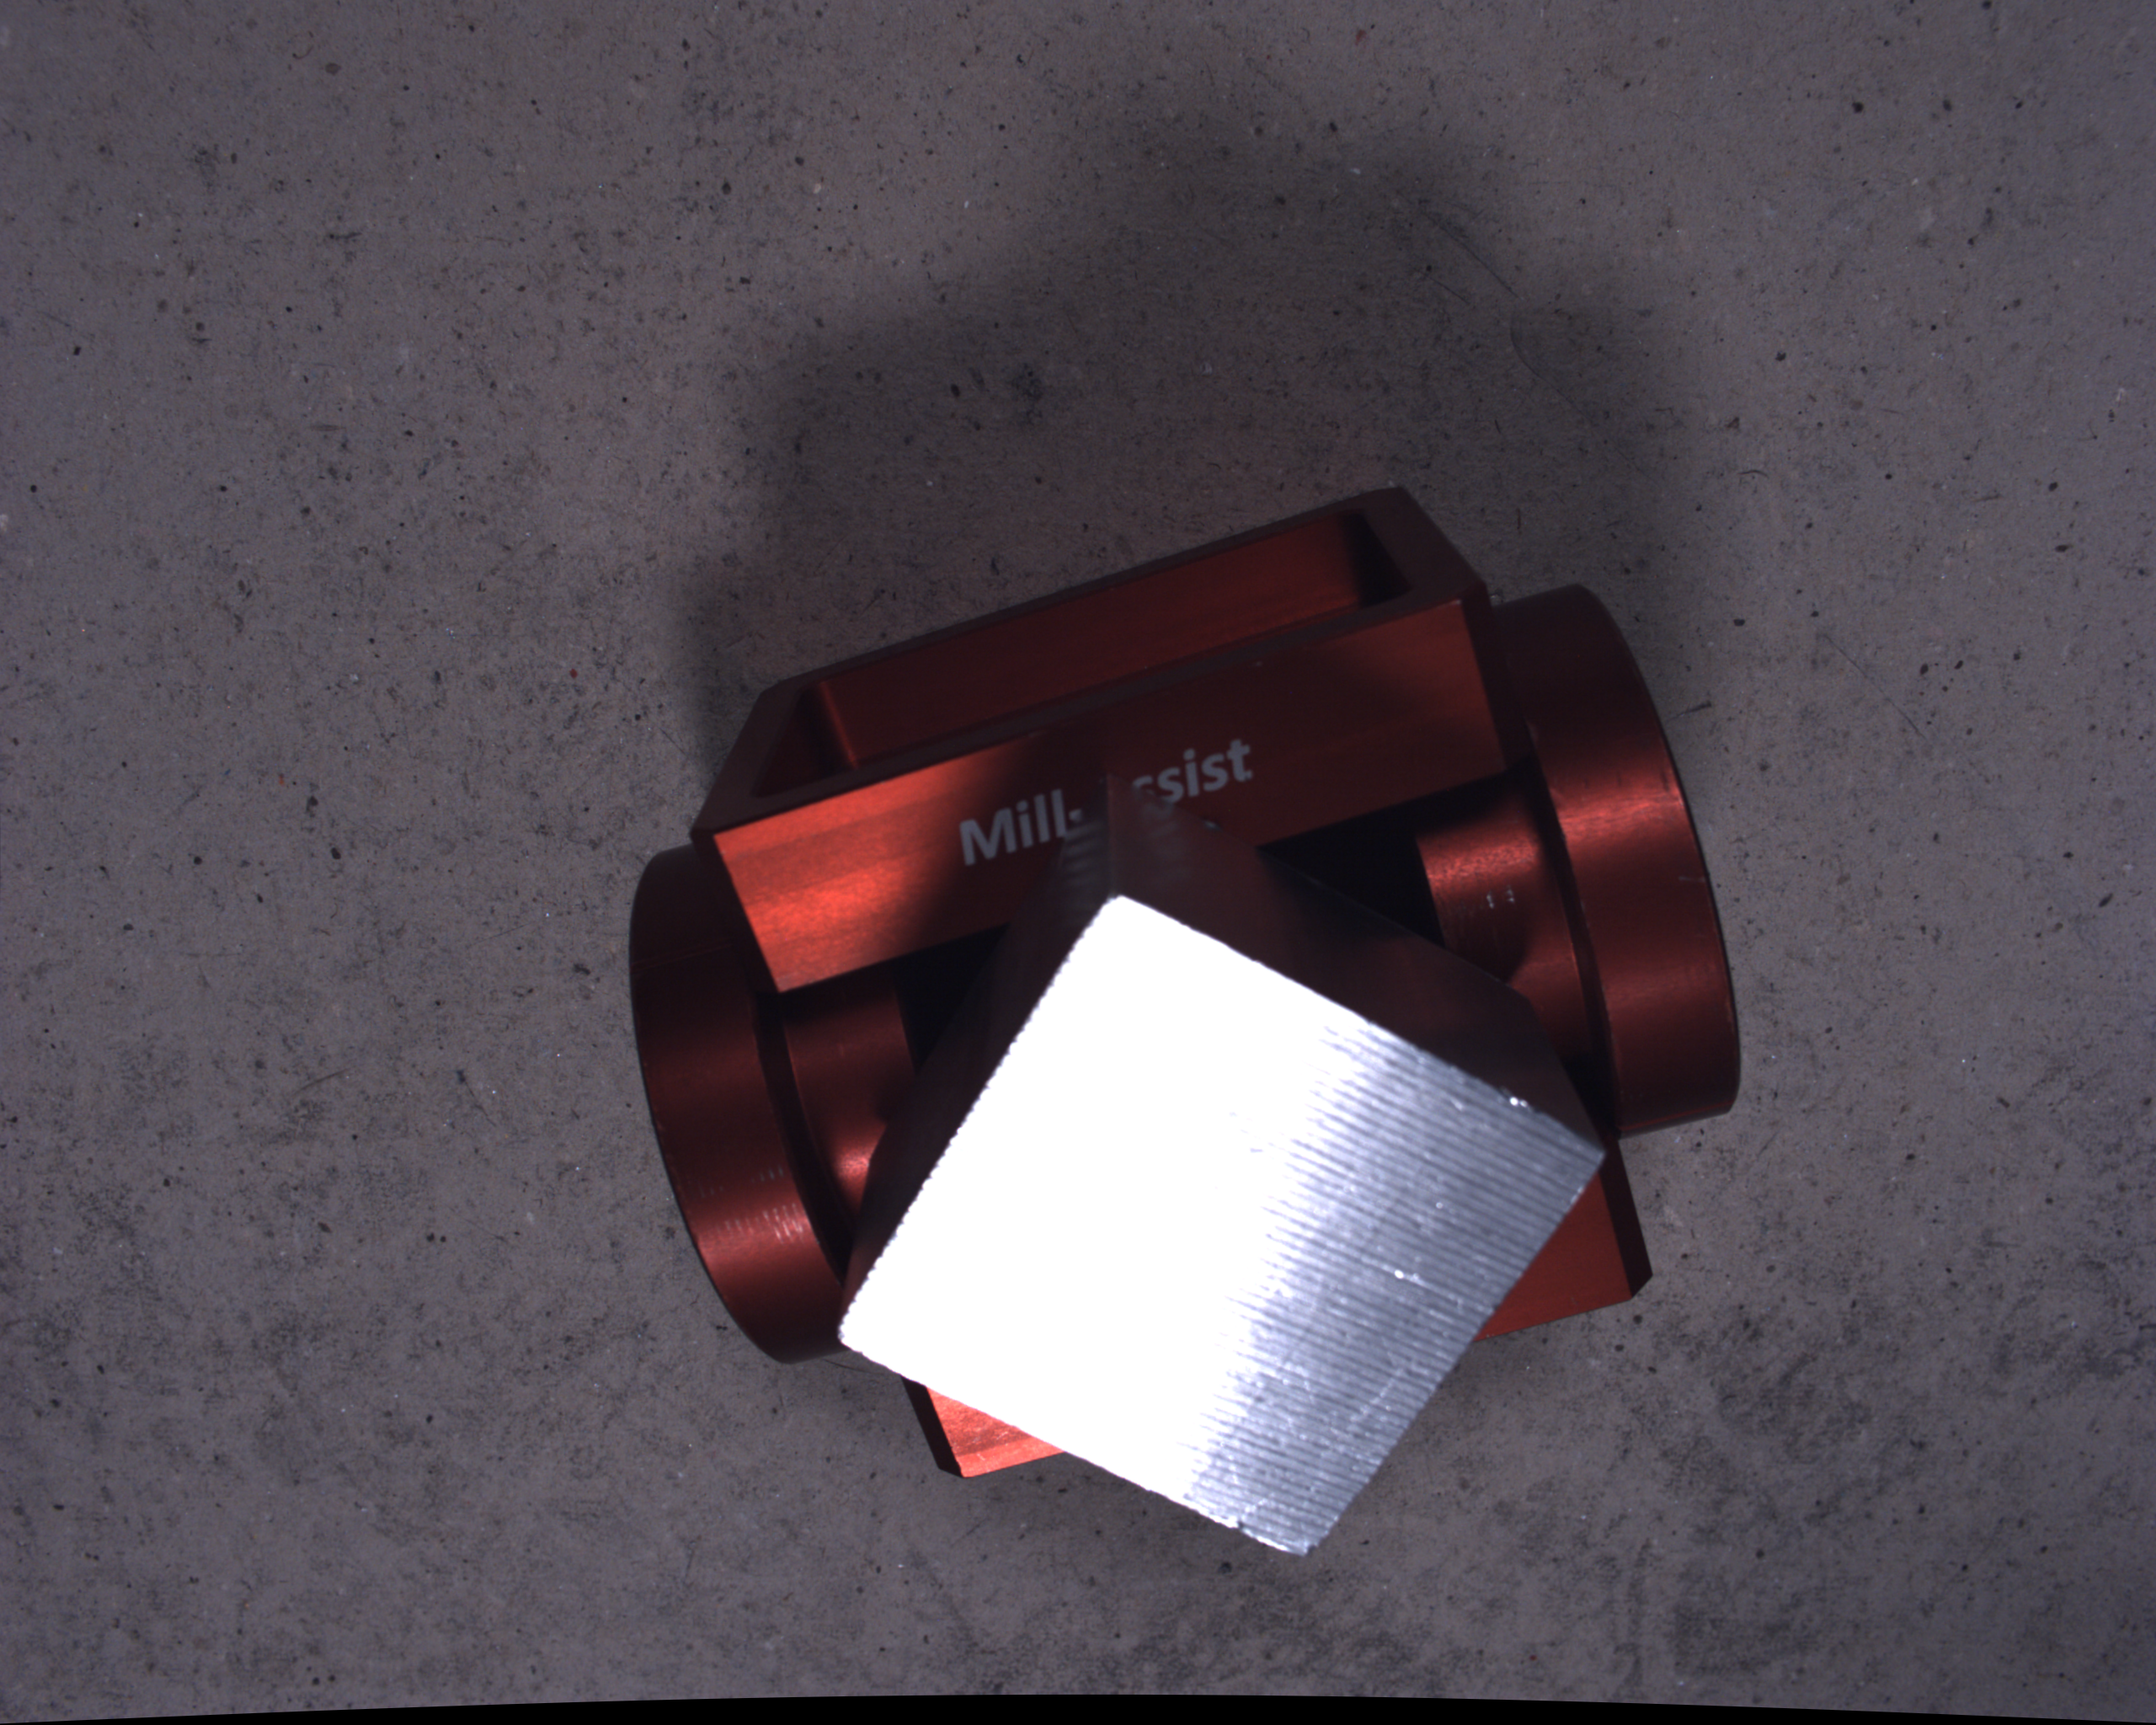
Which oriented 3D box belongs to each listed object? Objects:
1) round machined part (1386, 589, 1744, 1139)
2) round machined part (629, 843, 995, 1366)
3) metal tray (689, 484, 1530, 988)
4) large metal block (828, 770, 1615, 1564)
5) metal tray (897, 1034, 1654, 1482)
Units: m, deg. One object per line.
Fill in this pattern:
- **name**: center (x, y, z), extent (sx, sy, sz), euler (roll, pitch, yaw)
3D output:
- **round machined part**: center (0.082, 0.003, 0.374), extent (0.042, 0.098, 0.097), euler (-15, 110, 5)
- **round machined part**: center (-0.044, 0.040, 0.386), extent (0.042, 0.098, 0.097), euler (-15, 110, 5)
- **metal tray**: center (0.004, -0.026, 0.368), extent (0.131, 0.090, 0.030), euler (-17, 109, 6)
- **large metal block**: center (0.019, 0.045, 0.316), extent (0.080, 0.050, 0.080), euler (28, 107, -10)
- **metal tray**: center (0.033, 0.064, 0.399), extent (0.131, 0.090, 0.030), euler (-16, 110, 5)
